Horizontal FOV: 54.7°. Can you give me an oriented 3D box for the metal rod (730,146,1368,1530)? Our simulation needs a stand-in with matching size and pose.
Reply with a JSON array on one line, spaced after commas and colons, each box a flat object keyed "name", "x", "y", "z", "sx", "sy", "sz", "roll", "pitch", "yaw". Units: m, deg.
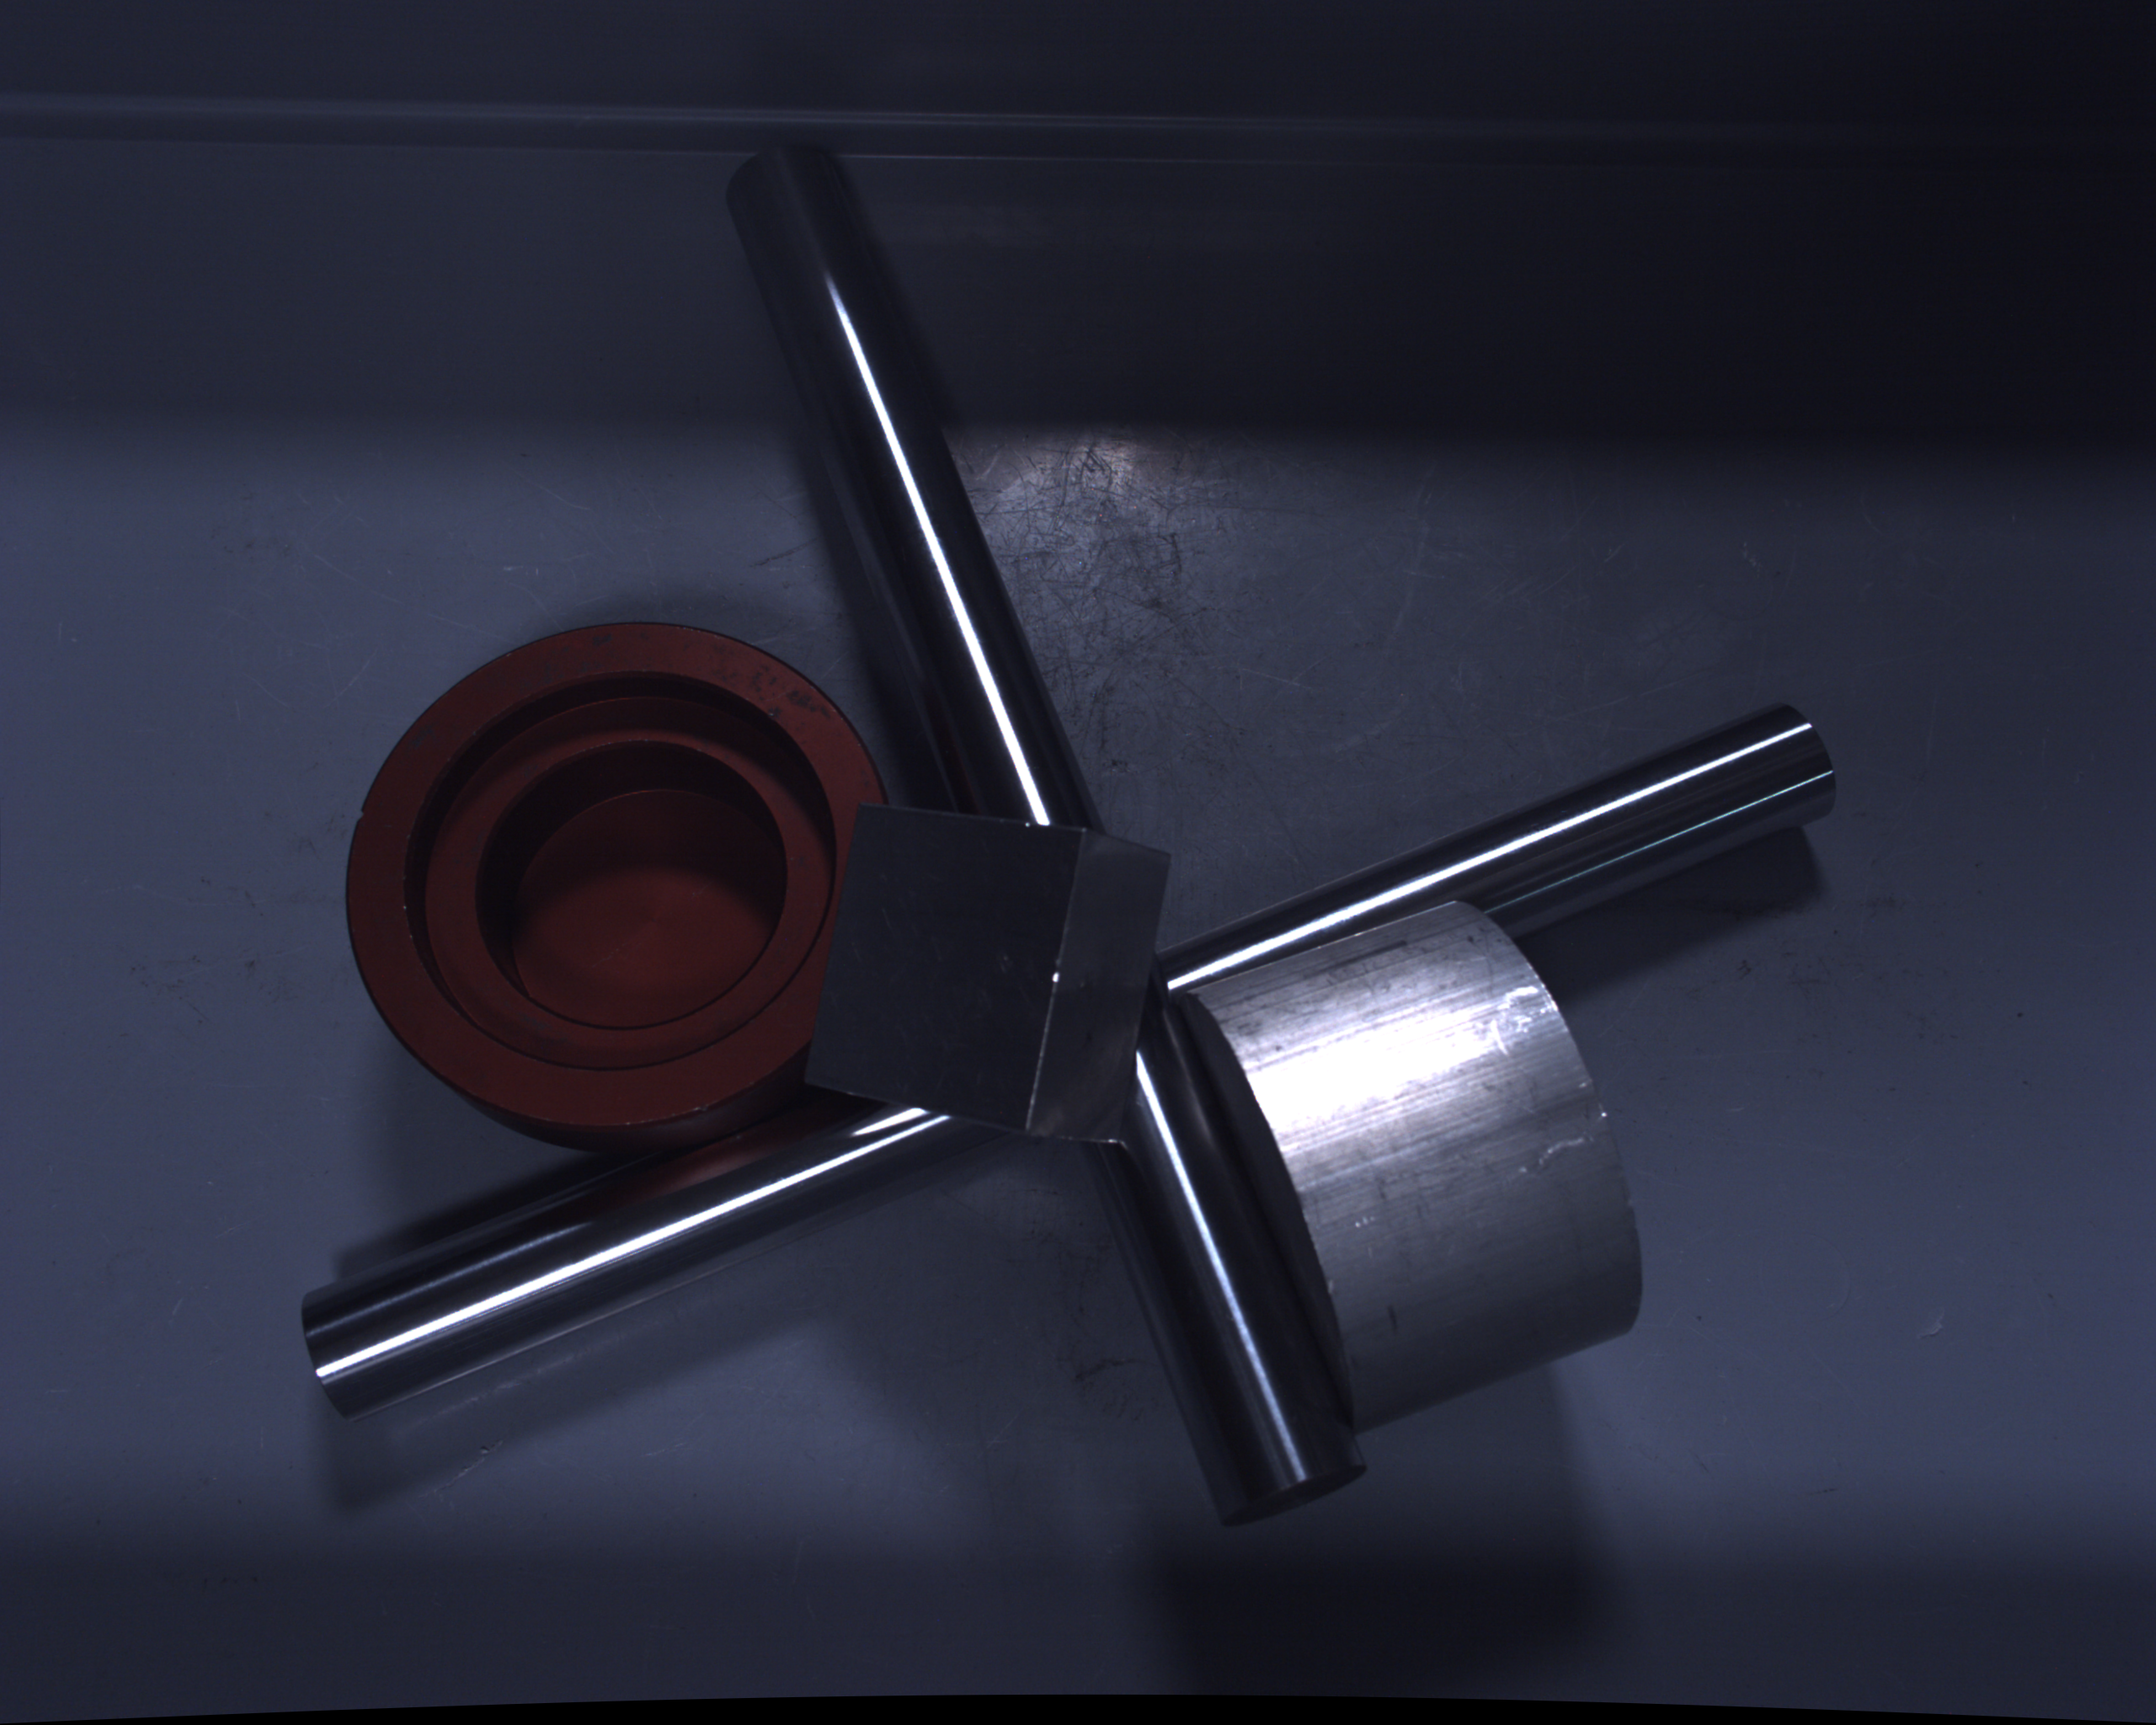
[{"name": "metal rod", "x": -0.015, "y": -0.024, "z": 0.398, "sx": 0.025, "sy": 0.025, "sz": 0.299, "roll": -18, "pitch": 64, "yaw": -7}]

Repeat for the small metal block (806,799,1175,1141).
[{"name": "small metal block", "x": -0.015, "y": 0.018, "z": 0.358, "sx": 0.050, "sy": 0.025, "sz": 0.050, "roll": 8, "pitch": 85, "yaw": 37}]

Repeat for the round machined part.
[{"name": "round machined part", "x": -0.083, "y": 0.007, "z": 0.396, "sx": 0.099, "sy": 0.042, "sz": 0.098, "roll": 0, "pitch": 70, "yaw": -1}]

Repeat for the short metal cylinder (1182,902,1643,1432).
[{"name": "short metal cylinder", "x": 0.055, "y": 0.052, "z": 0.361, "sx": 0.050, "sy": 0.080, "sz": 0.080, "roll": -19, "pitch": 71, "yaw": -7}]

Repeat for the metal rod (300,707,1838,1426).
[{"name": "metal rod", "x": 0.005, "y": 0.035, "z": 0.395, "sx": 0.302, "sy": 0.025, "sz": 0.025, "roll": -21, "pitch": 72, "yaw": -8}]
